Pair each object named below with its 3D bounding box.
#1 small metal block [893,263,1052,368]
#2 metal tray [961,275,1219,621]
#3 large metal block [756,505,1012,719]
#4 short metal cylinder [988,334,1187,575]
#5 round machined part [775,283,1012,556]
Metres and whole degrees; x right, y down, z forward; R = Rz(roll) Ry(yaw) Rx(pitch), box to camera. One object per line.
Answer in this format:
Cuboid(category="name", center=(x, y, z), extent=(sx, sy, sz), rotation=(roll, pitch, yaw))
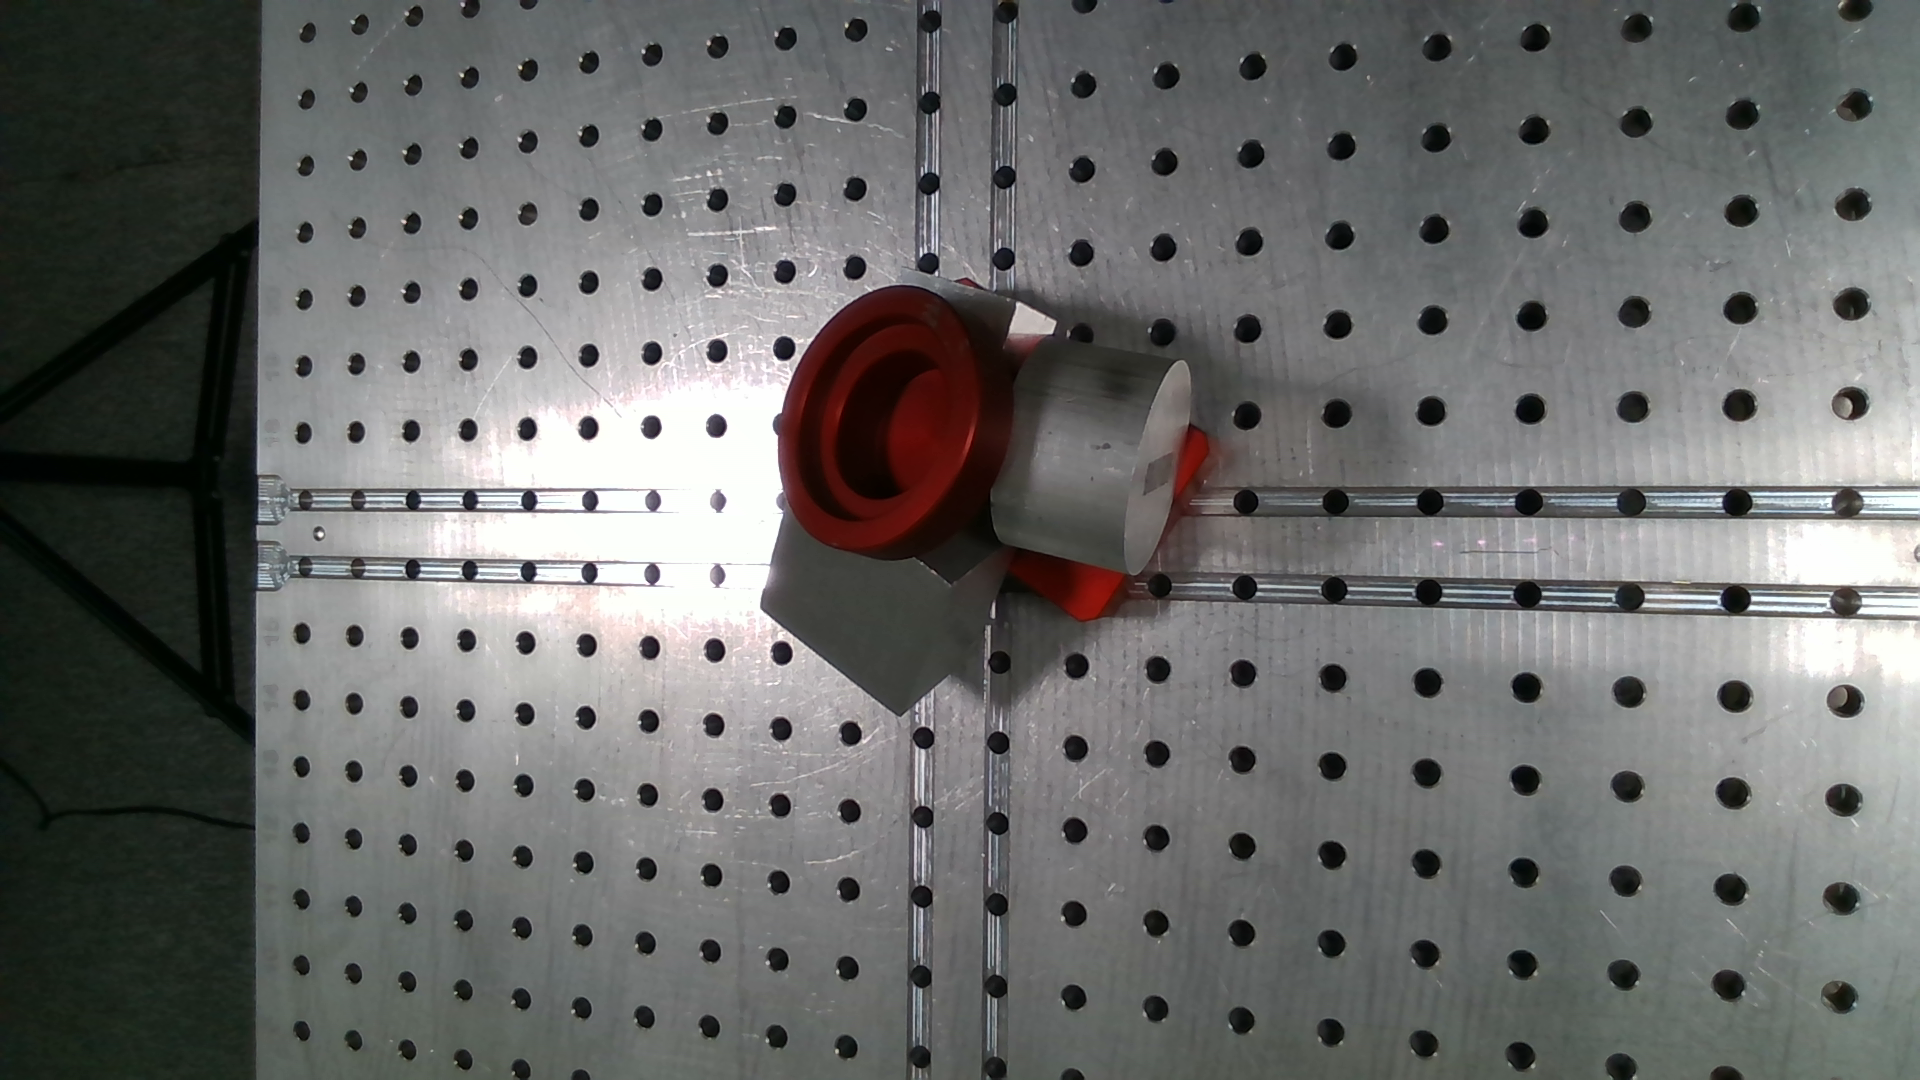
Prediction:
Cuboid(category="small metal block", center=(0.003, -0.085, 0.539), extent=(0.050, 0.050, 0.025), rotation=(20, 97, 19))
Cuboid(category="metal tray", center=(0.031, -0.038, 0.574), extent=(0.130, 0.030, 0.090), rotation=(36, 102, 16))
Cuboid(category="large metal block", center=(-0.031, 0.012, 0.567), extent=(0.080, 0.050, 0.080), rotation=(36, 133, 16))
Cuboid(category="short metal cylinder", center=(0.049, -0.032, 0.508), extent=(0.050, 0.080, 0.080), rotation=(14, 95, 20))
Cuboid(category="round machined part", center=(-0.019, -0.041, 0.506), extent=(0.098, 0.042, 0.098), rotation=(-11, 72, 38))
